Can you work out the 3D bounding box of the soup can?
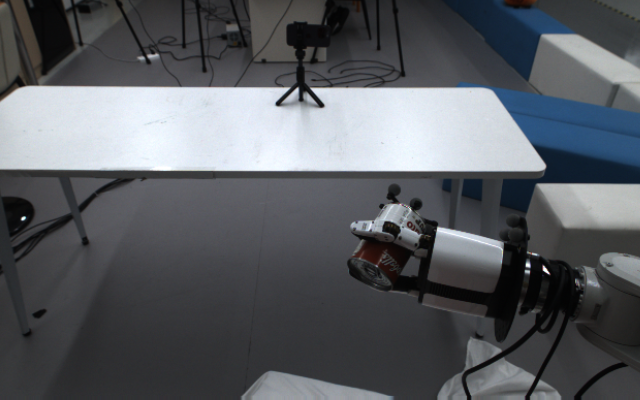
[{"bbox_3d":[0.092,0.060,0.644,0.067,0.067,0.101,22,60,27],"label":"soup can"}]
